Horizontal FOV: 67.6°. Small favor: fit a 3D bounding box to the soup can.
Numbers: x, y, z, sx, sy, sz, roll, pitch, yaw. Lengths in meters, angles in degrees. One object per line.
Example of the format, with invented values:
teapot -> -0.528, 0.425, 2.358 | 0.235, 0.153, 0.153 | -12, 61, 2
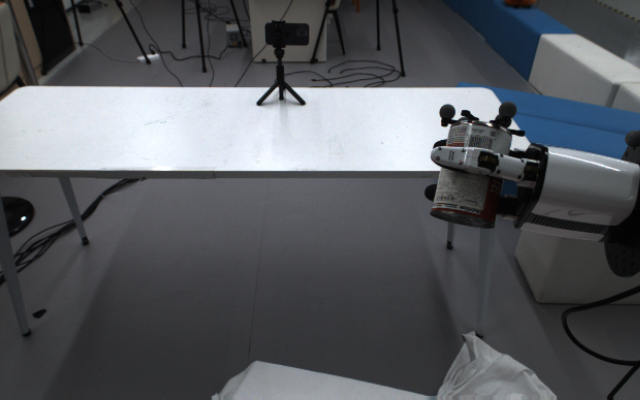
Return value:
soup can -> 0.163, -0.030, 0.524 | 0.067, 0.101, 0.067 | 14, -6, 2
